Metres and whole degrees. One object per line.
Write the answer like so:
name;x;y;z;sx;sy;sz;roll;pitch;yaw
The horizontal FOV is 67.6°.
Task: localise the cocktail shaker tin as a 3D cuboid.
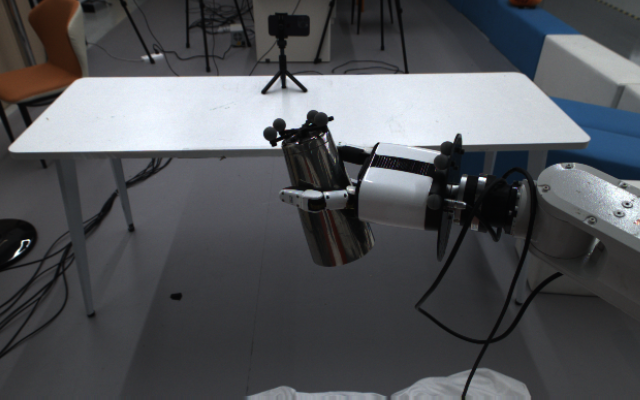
cocktail shaker tin;0.007;-0.007;0.649;0.093;0.170;0.093;-17;20;7
